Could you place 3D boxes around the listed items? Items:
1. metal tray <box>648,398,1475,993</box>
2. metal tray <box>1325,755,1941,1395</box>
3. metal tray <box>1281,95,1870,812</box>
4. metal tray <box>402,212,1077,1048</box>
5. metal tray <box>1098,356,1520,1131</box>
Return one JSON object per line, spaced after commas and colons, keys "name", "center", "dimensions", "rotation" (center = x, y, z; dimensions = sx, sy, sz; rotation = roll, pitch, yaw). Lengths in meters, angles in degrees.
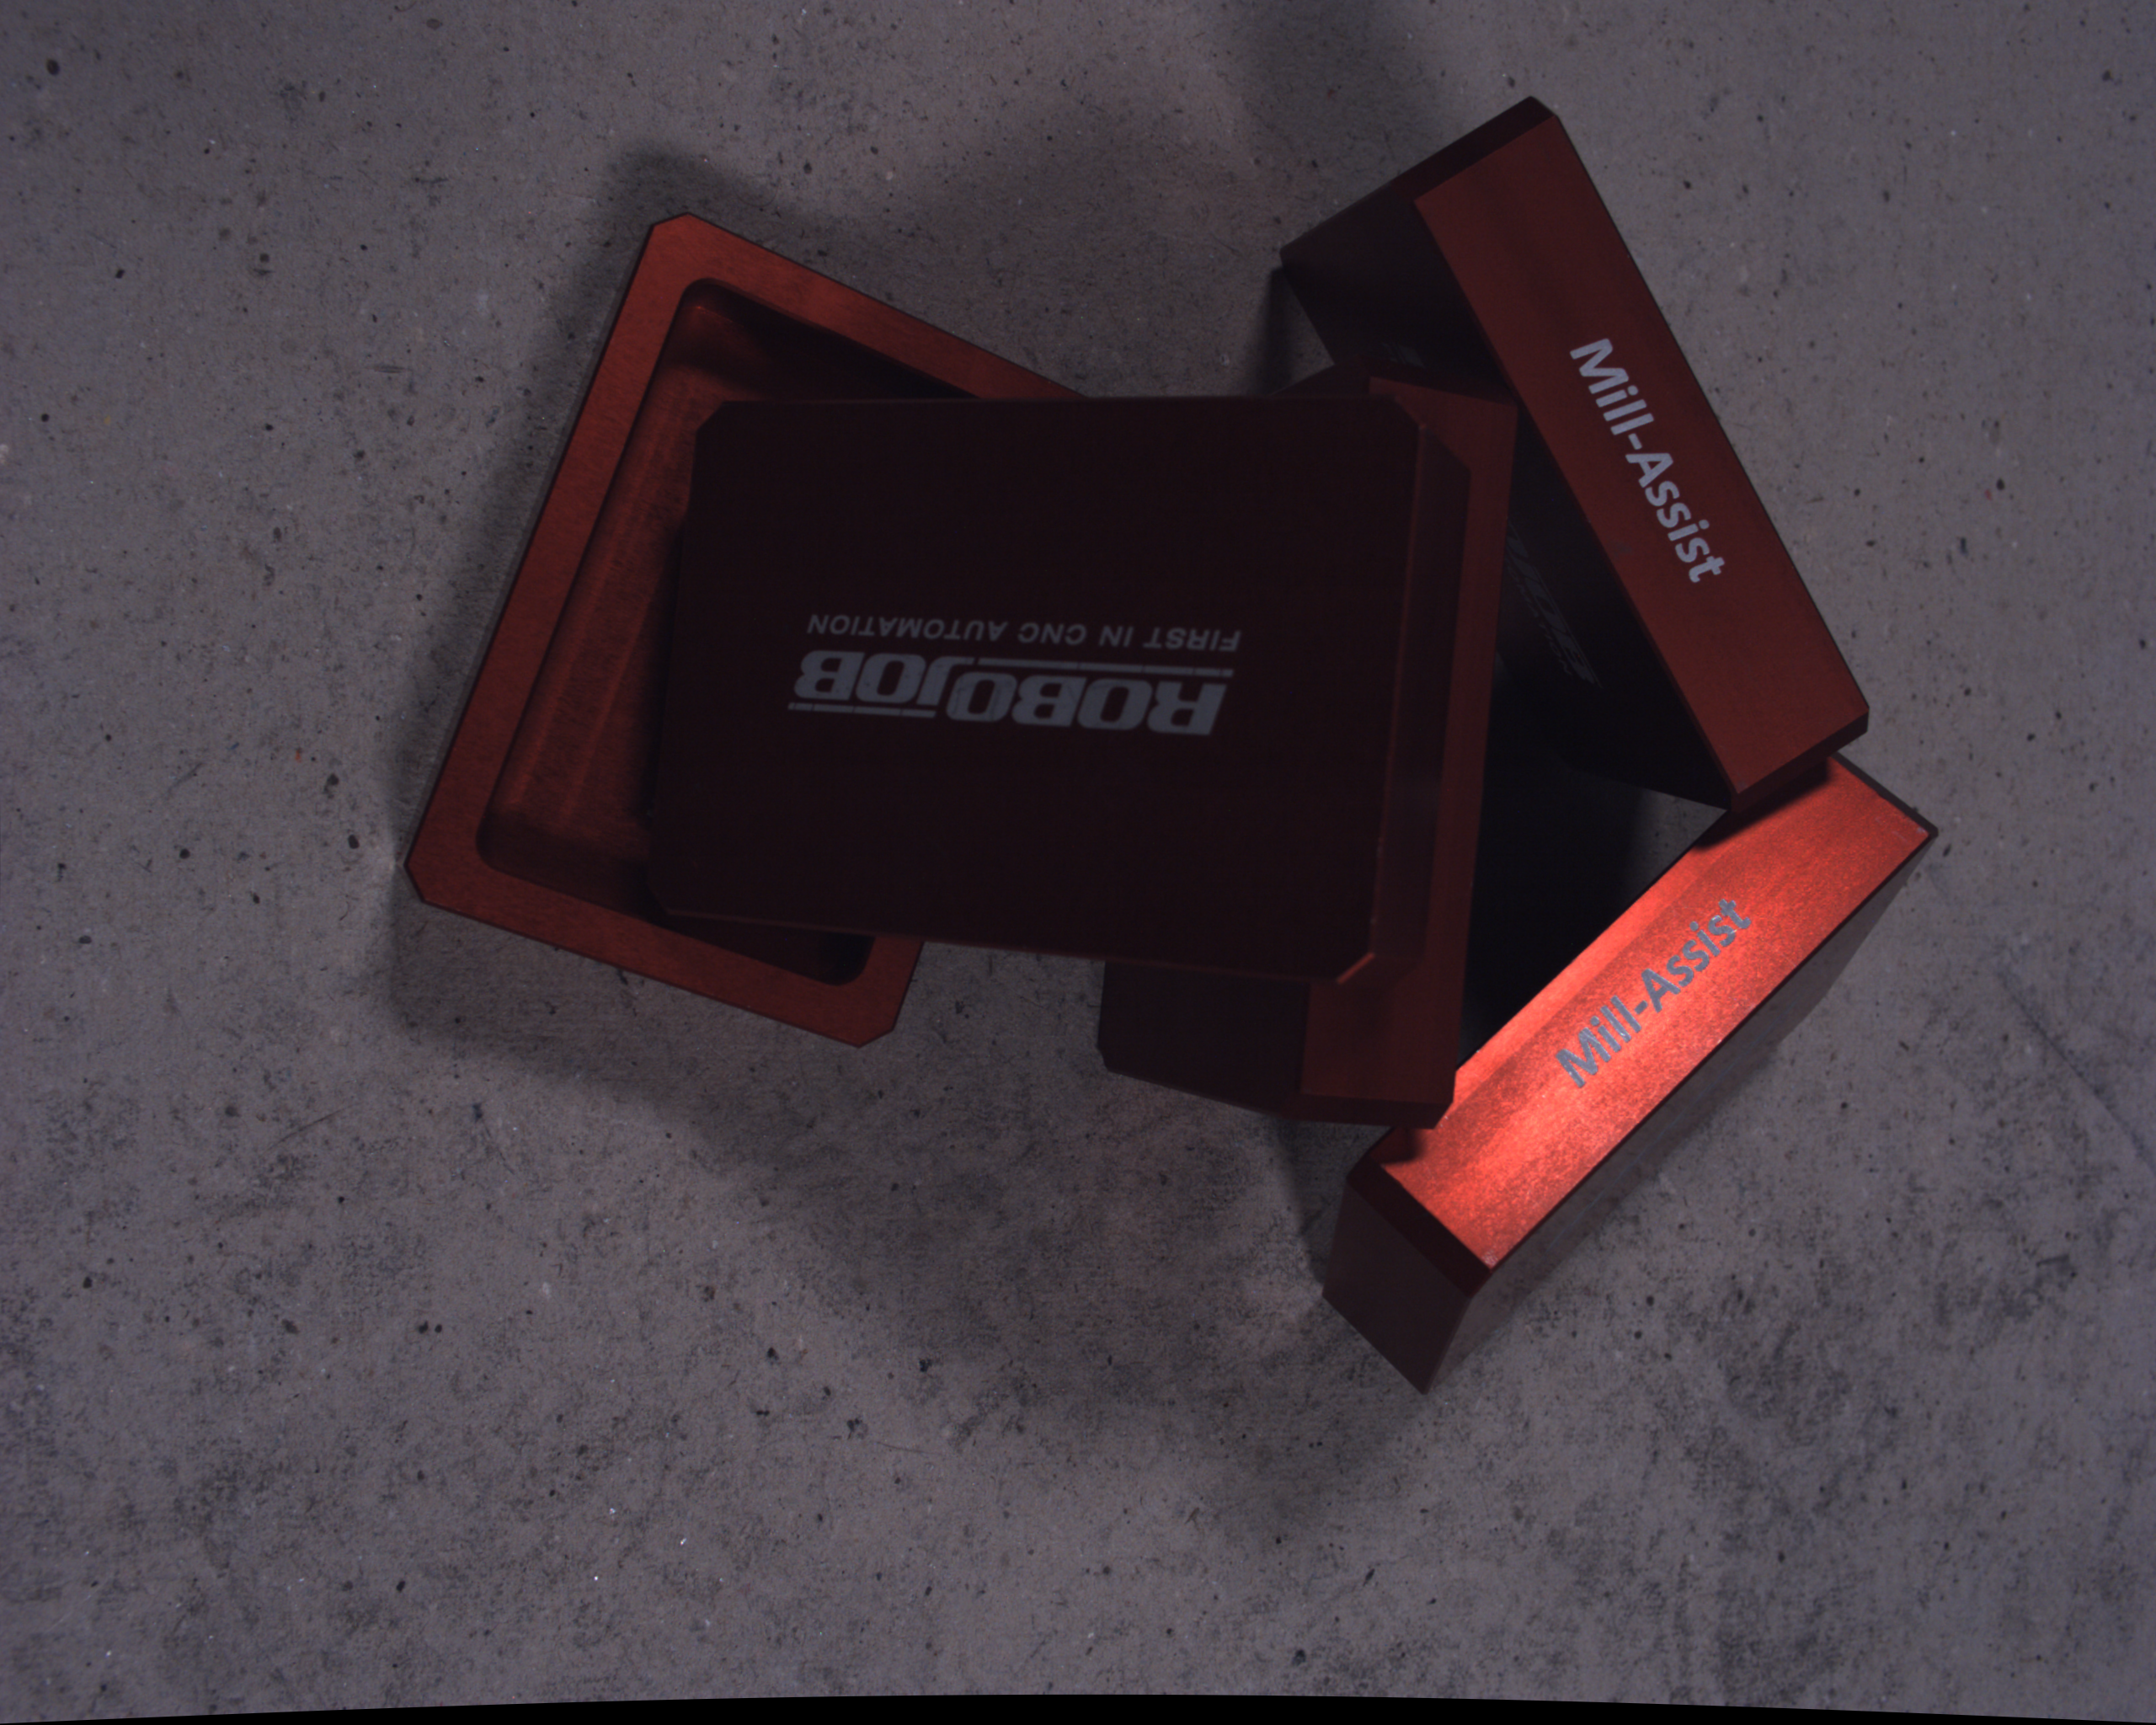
{"name": "metal tray", "center": [-0.005, -0.029, 0.349], "dimensions": [0.130, 0.030, 0.089], "rotation": [5, 88, 24]}
{"name": "metal tray", "center": [0.107, 0.043, 0.417], "dimensions": [0.130, 0.090, 0.030], "rotation": [-40, 68, -15]}
{"name": "metal tray", "center": [0.094, -0.076, 0.409], "dimensions": [0.030, 0.090, 0.130], "rotation": [-32, 101, -3]}
{"name": "metal tray", "center": [-0.059, -0.041, 0.387], "dimensions": [0.091, 0.030, 0.129], "rotation": [21, 83, -19]}
{"name": "metal tray", "center": [0.040, -0.020, 0.392], "dimensions": [0.030, 0.090, 0.129], "rotation": [7, 88, -20]}
